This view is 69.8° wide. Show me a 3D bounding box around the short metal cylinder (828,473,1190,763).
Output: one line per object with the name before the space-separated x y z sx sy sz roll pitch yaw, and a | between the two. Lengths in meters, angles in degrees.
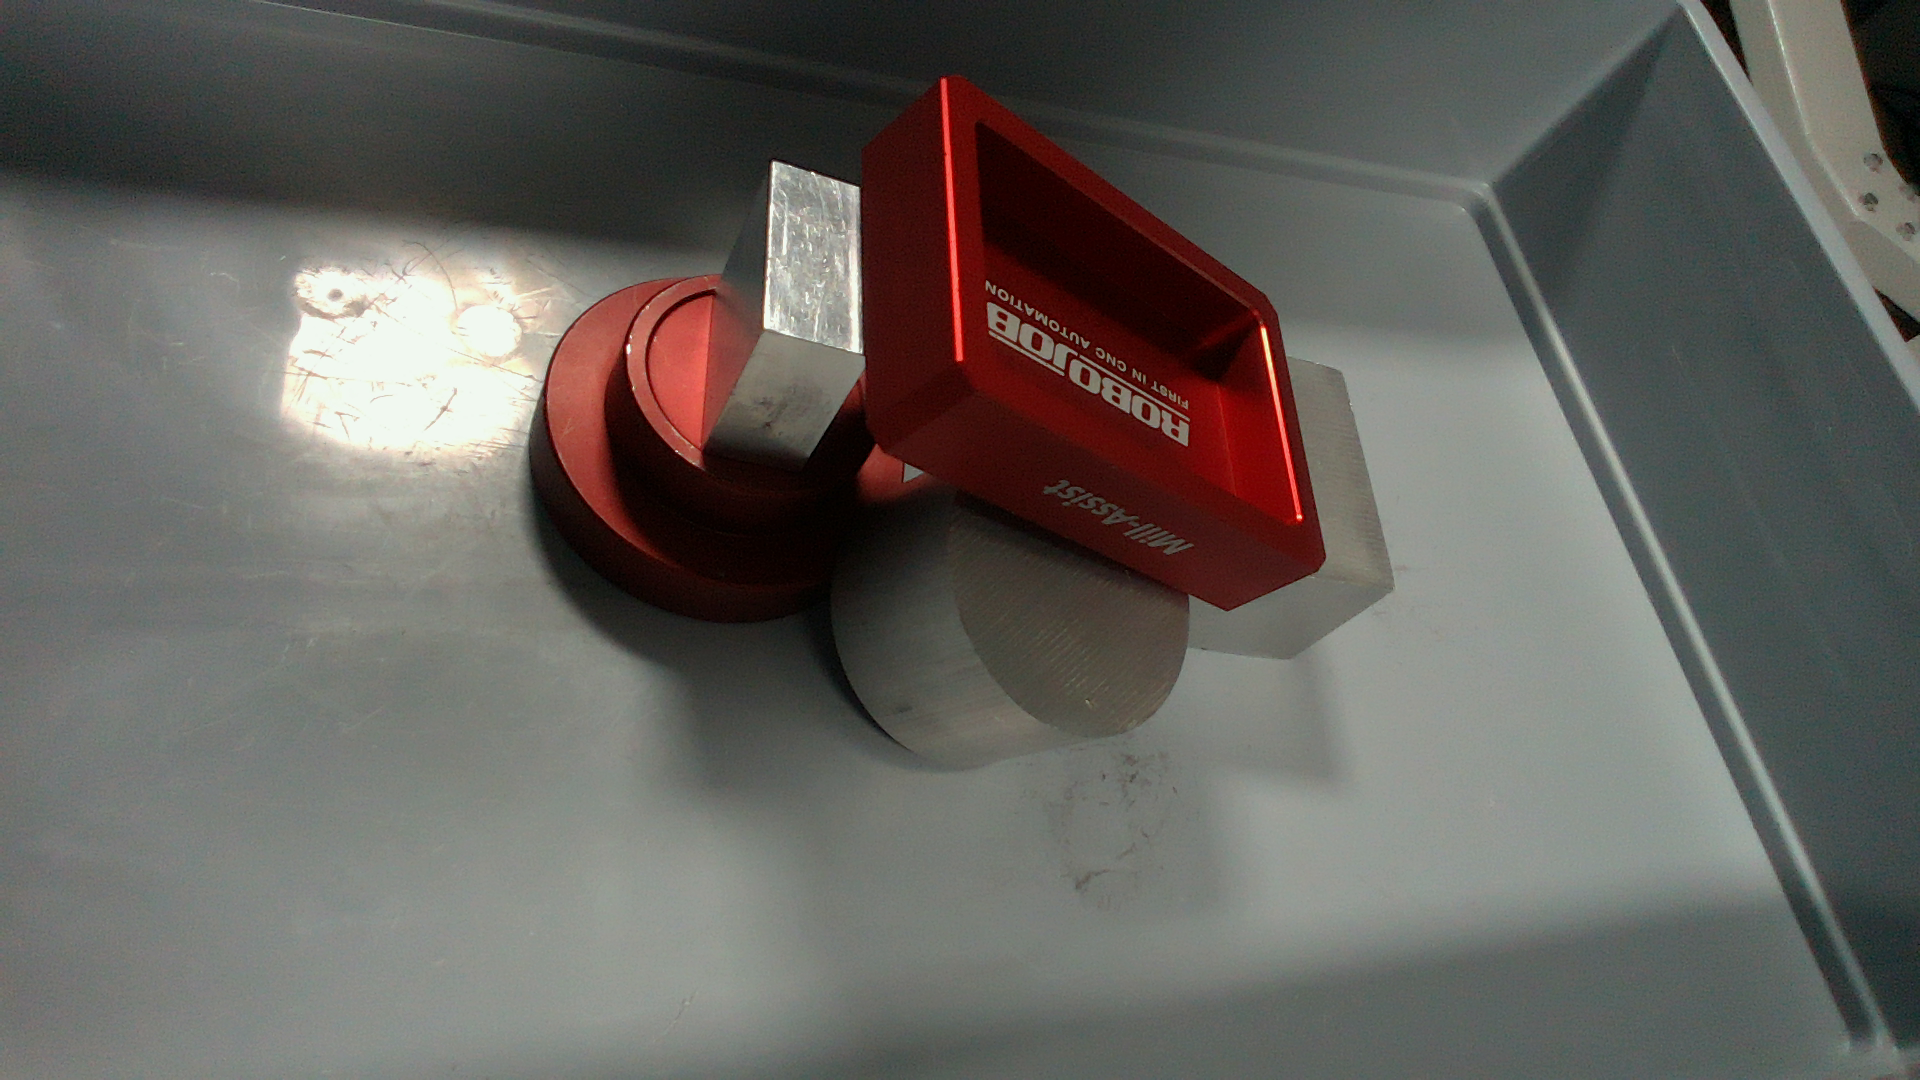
short metal cylinder | 0.013 0.014 0.355 0.080 0.050 0.080 15 66 -36

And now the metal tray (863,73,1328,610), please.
metal tray | 0.035 -0.045 0.341 0.130 0.030 0.090 23 51 -38

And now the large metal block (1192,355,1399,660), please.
large metal block | 0.078 -0.015 0.421 0.080 0.050 0.080 9 57 -23

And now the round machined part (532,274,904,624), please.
round machined part | -0.060 -0.031 0.364 0.098 0.042 0.098 14 56 -21

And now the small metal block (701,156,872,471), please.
small metal block | -0.041 -0.053 0.328 0.025 0.050 0.050 12 57 -22
